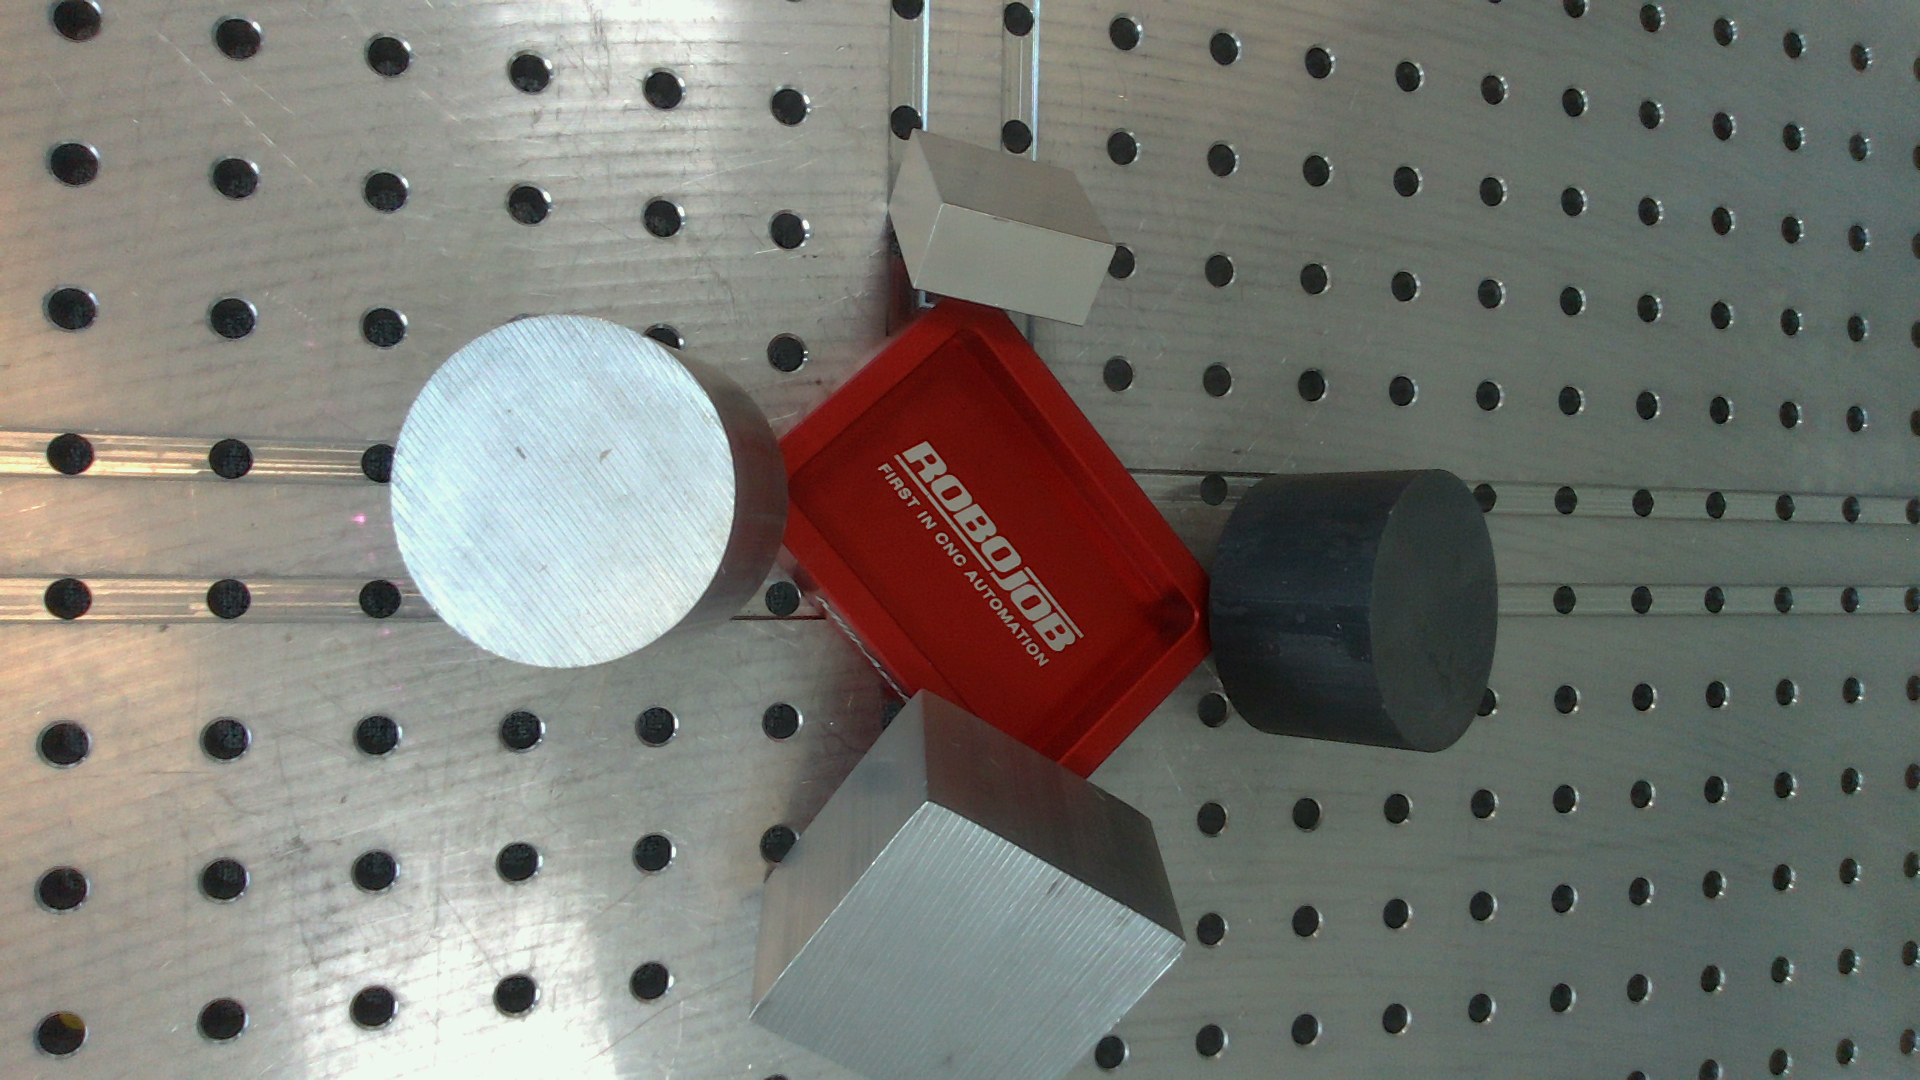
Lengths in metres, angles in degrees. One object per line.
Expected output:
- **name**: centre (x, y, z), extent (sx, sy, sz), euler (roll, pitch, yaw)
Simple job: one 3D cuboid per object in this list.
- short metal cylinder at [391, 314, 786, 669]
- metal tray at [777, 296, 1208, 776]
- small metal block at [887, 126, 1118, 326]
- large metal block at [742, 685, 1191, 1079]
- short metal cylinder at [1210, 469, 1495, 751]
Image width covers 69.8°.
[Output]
- **short metal cylinder**: centre (-0.088, -0.011, 0.335), extent (0.080, 0.050, 0.080), euler (0, 90, 6)
- **metal tray**: centre (0.008, 0.004, 0.395), extent (0.090, 0.030, 0.130), euler (-43, 104, -15)
- **small metal block**: centre (0.010, -0.088, 0.383), extent (0.050, 0.050, 0.025), euler (10, 125, -19)
- **large metal block**: centre (0.000, 0.099, 0.364), extent (0.080, 0.050, 0.080), euler (32, 110, -17)
- **short metal cylinder**: centre (0.118, 0.020, 0.409), extent (0.080, 0.050, 0.080), euler (-1, 91, -46)
